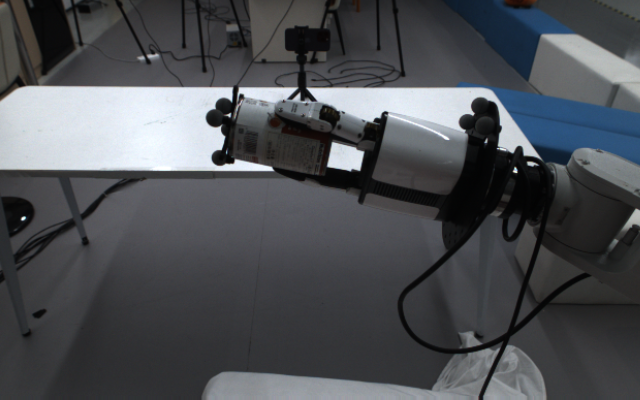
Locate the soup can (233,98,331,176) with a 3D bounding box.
[{"bbox_3d":[-0.036,-0.066,0.514,0.101,0.067,0.067,11,35,-2],"label":"soup can"}]
